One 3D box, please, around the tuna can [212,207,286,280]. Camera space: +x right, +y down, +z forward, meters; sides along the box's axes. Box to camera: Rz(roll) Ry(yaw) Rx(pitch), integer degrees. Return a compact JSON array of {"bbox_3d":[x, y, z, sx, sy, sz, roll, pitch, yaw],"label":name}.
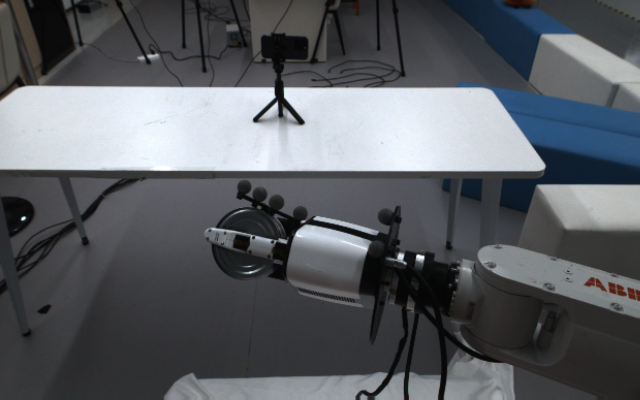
[{"bbox_3d":[-0.081,0.051,0.579,0.085,0.085,0.034,13,-5,16],"label":"tuna can"}]
